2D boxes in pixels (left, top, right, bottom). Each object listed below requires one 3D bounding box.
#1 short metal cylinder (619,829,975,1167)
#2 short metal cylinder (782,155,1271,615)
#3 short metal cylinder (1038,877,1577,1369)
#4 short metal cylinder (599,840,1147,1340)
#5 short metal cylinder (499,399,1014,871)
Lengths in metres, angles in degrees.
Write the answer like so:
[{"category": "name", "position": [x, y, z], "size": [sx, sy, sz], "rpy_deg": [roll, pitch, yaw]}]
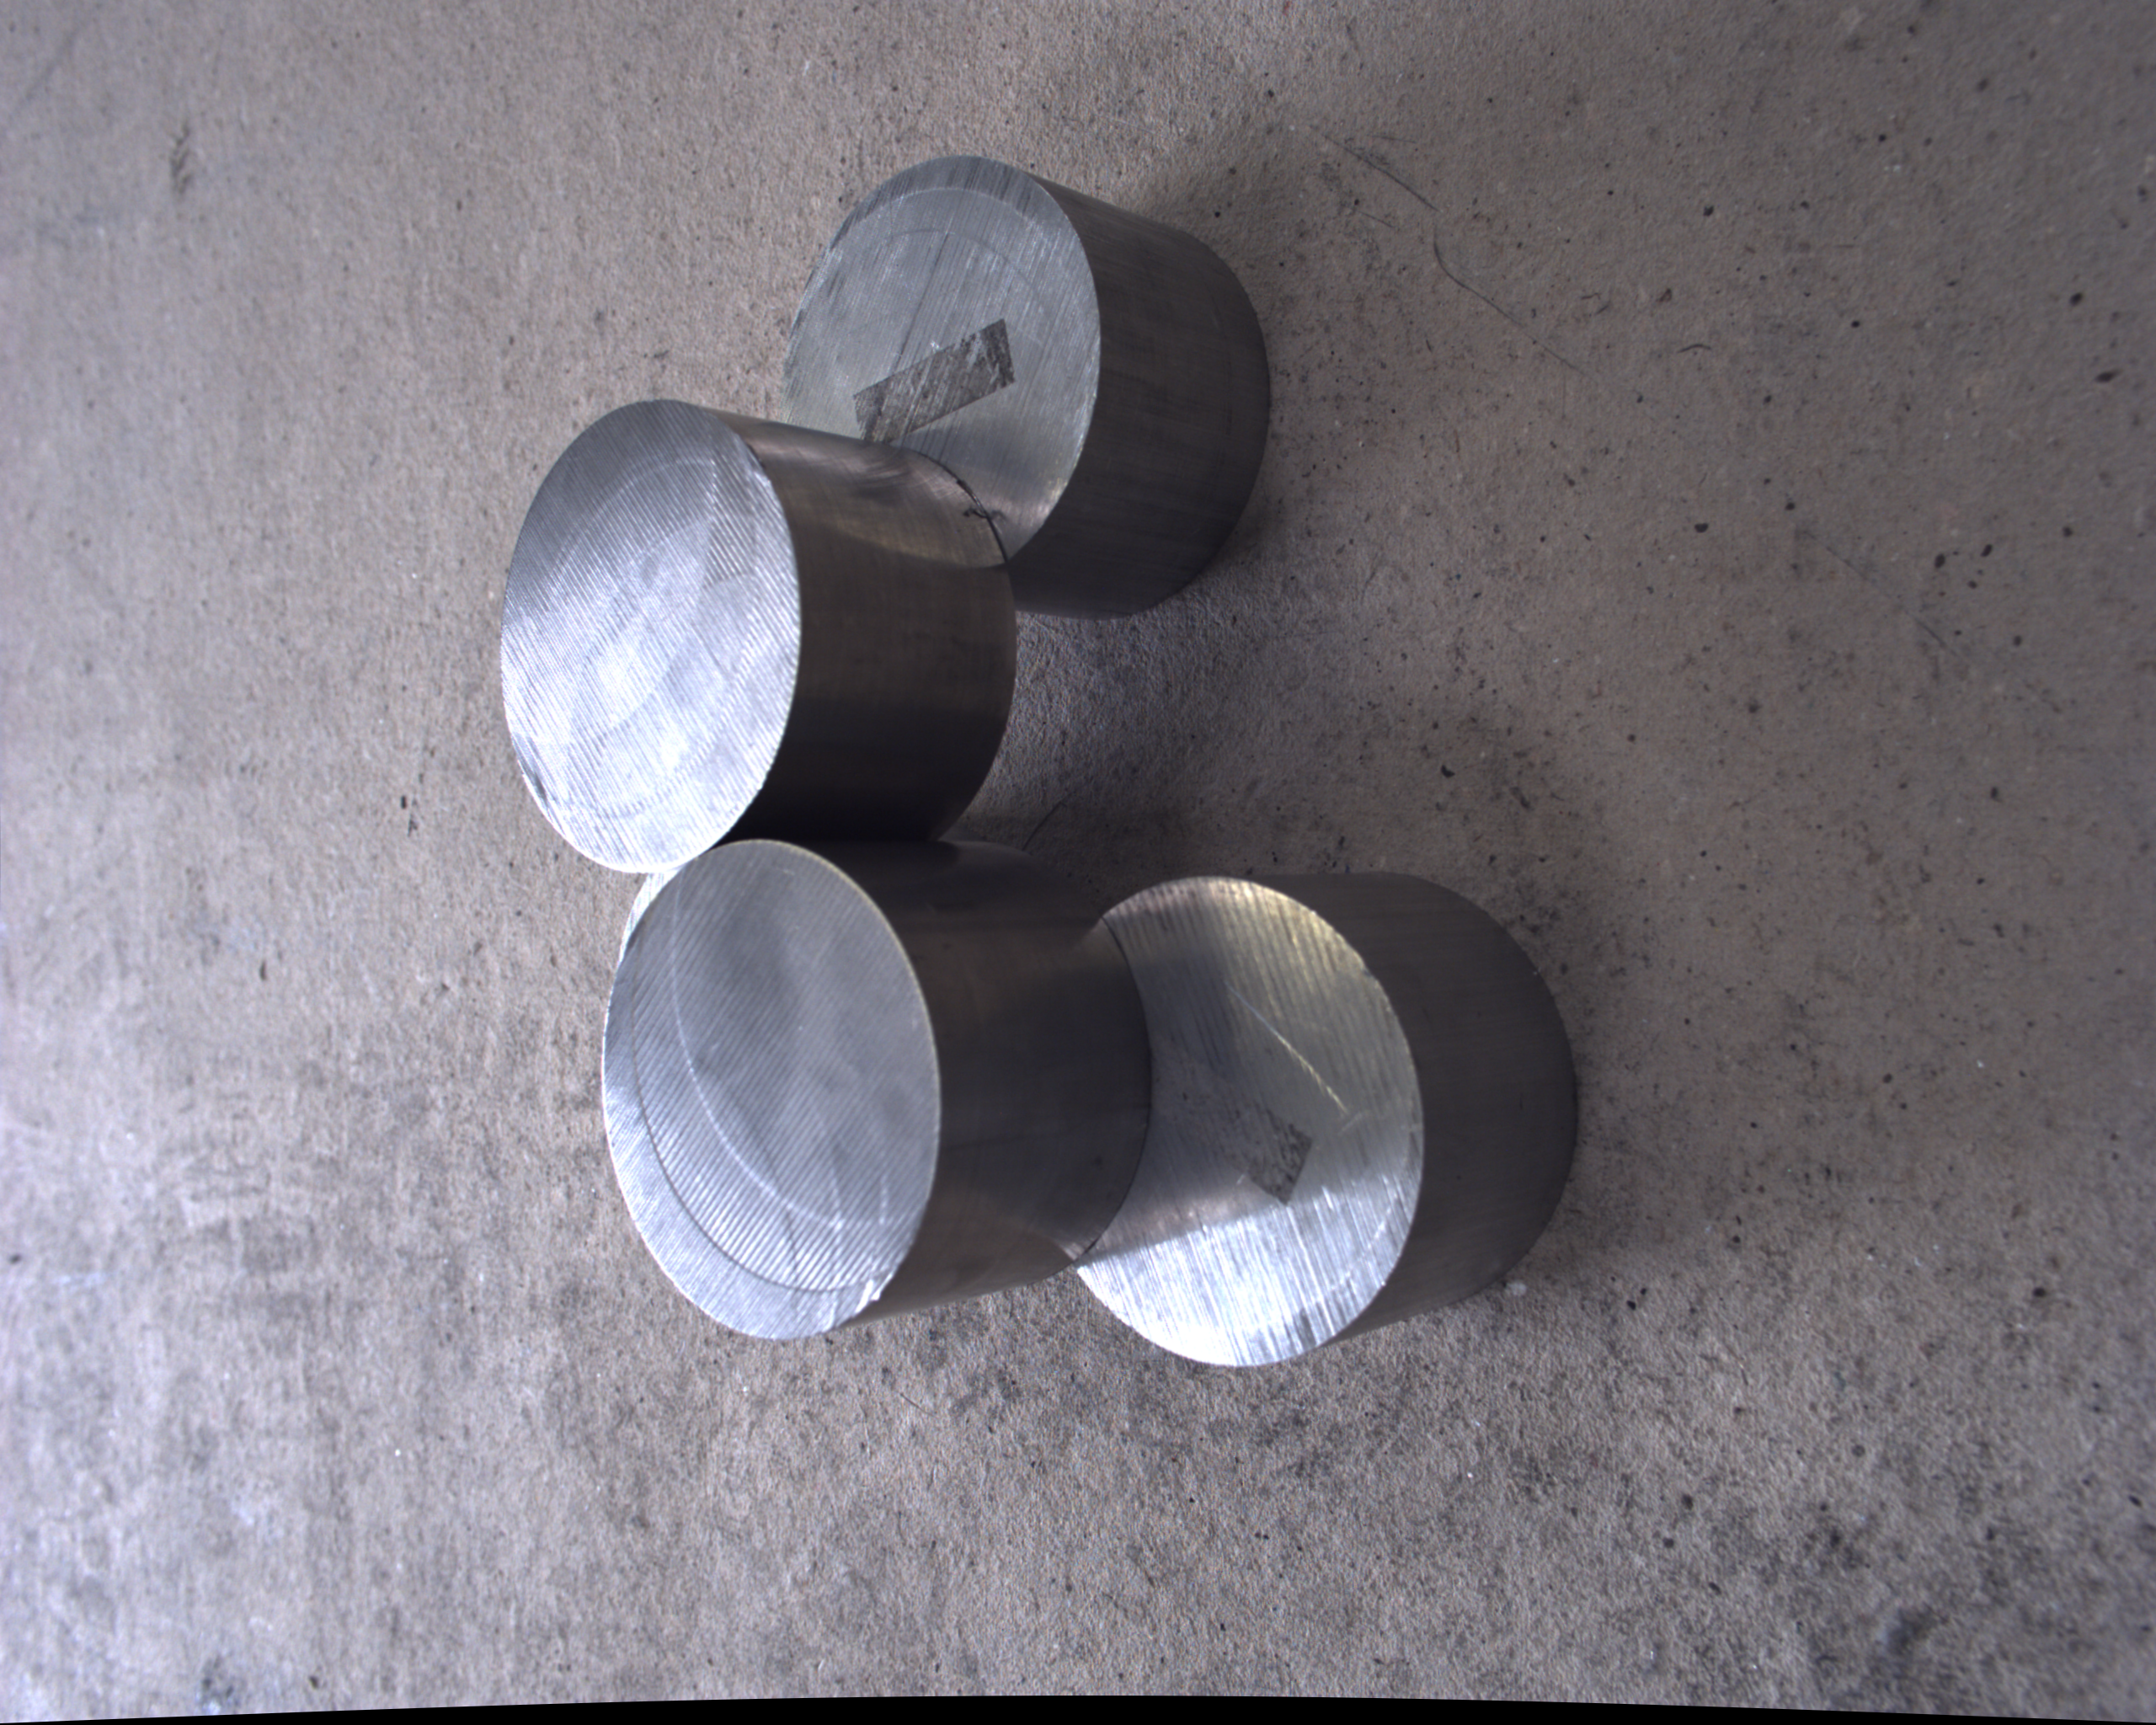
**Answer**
[{"category": "short metal cylinder", "position": [-0.051, 0.030, 0.432], "size": [0.080, 0.050, 0.080], "rpy_deg": [0, 90, 40]}, {"category": "short metal cylinder", "position": [-0.011, -0.088, 0.399], "size": [0.080, 0.050, 0.080], "rpy_deg": [0, 90, 40]}, {"category": "short metal cylinder", "position": [0.037, 0.042, 0.359], "size": [0.080, 0.050, 0.080], "rpy_deg": [0, 90, 40]}, {"category": "short metal cylinder", "position": [-0.035, 0.036, 0.353], "size": [0.080, 0.050, 0.080], "rpy_deg": [0, 90, 39]}, {"category": "short metal cylinder", "position": [-0.058, -0.038, 0.372], "size": [0.080, 0.050, 0.080], "rpy_deg": [0, 90, 40]}]
